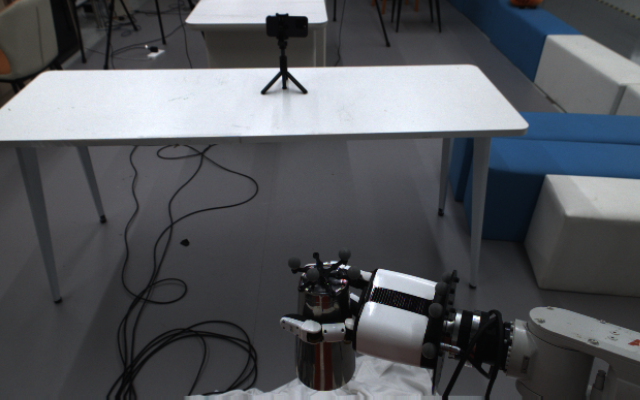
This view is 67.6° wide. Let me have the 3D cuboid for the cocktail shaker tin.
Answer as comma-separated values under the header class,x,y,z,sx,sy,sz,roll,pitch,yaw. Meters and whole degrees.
class,x,y,z,sx,sy,sz,roll,pitch,yaw
cocktail shaker tin,0.010,0.173,0.685,0.093,0.170,0.093,-1,32,1
